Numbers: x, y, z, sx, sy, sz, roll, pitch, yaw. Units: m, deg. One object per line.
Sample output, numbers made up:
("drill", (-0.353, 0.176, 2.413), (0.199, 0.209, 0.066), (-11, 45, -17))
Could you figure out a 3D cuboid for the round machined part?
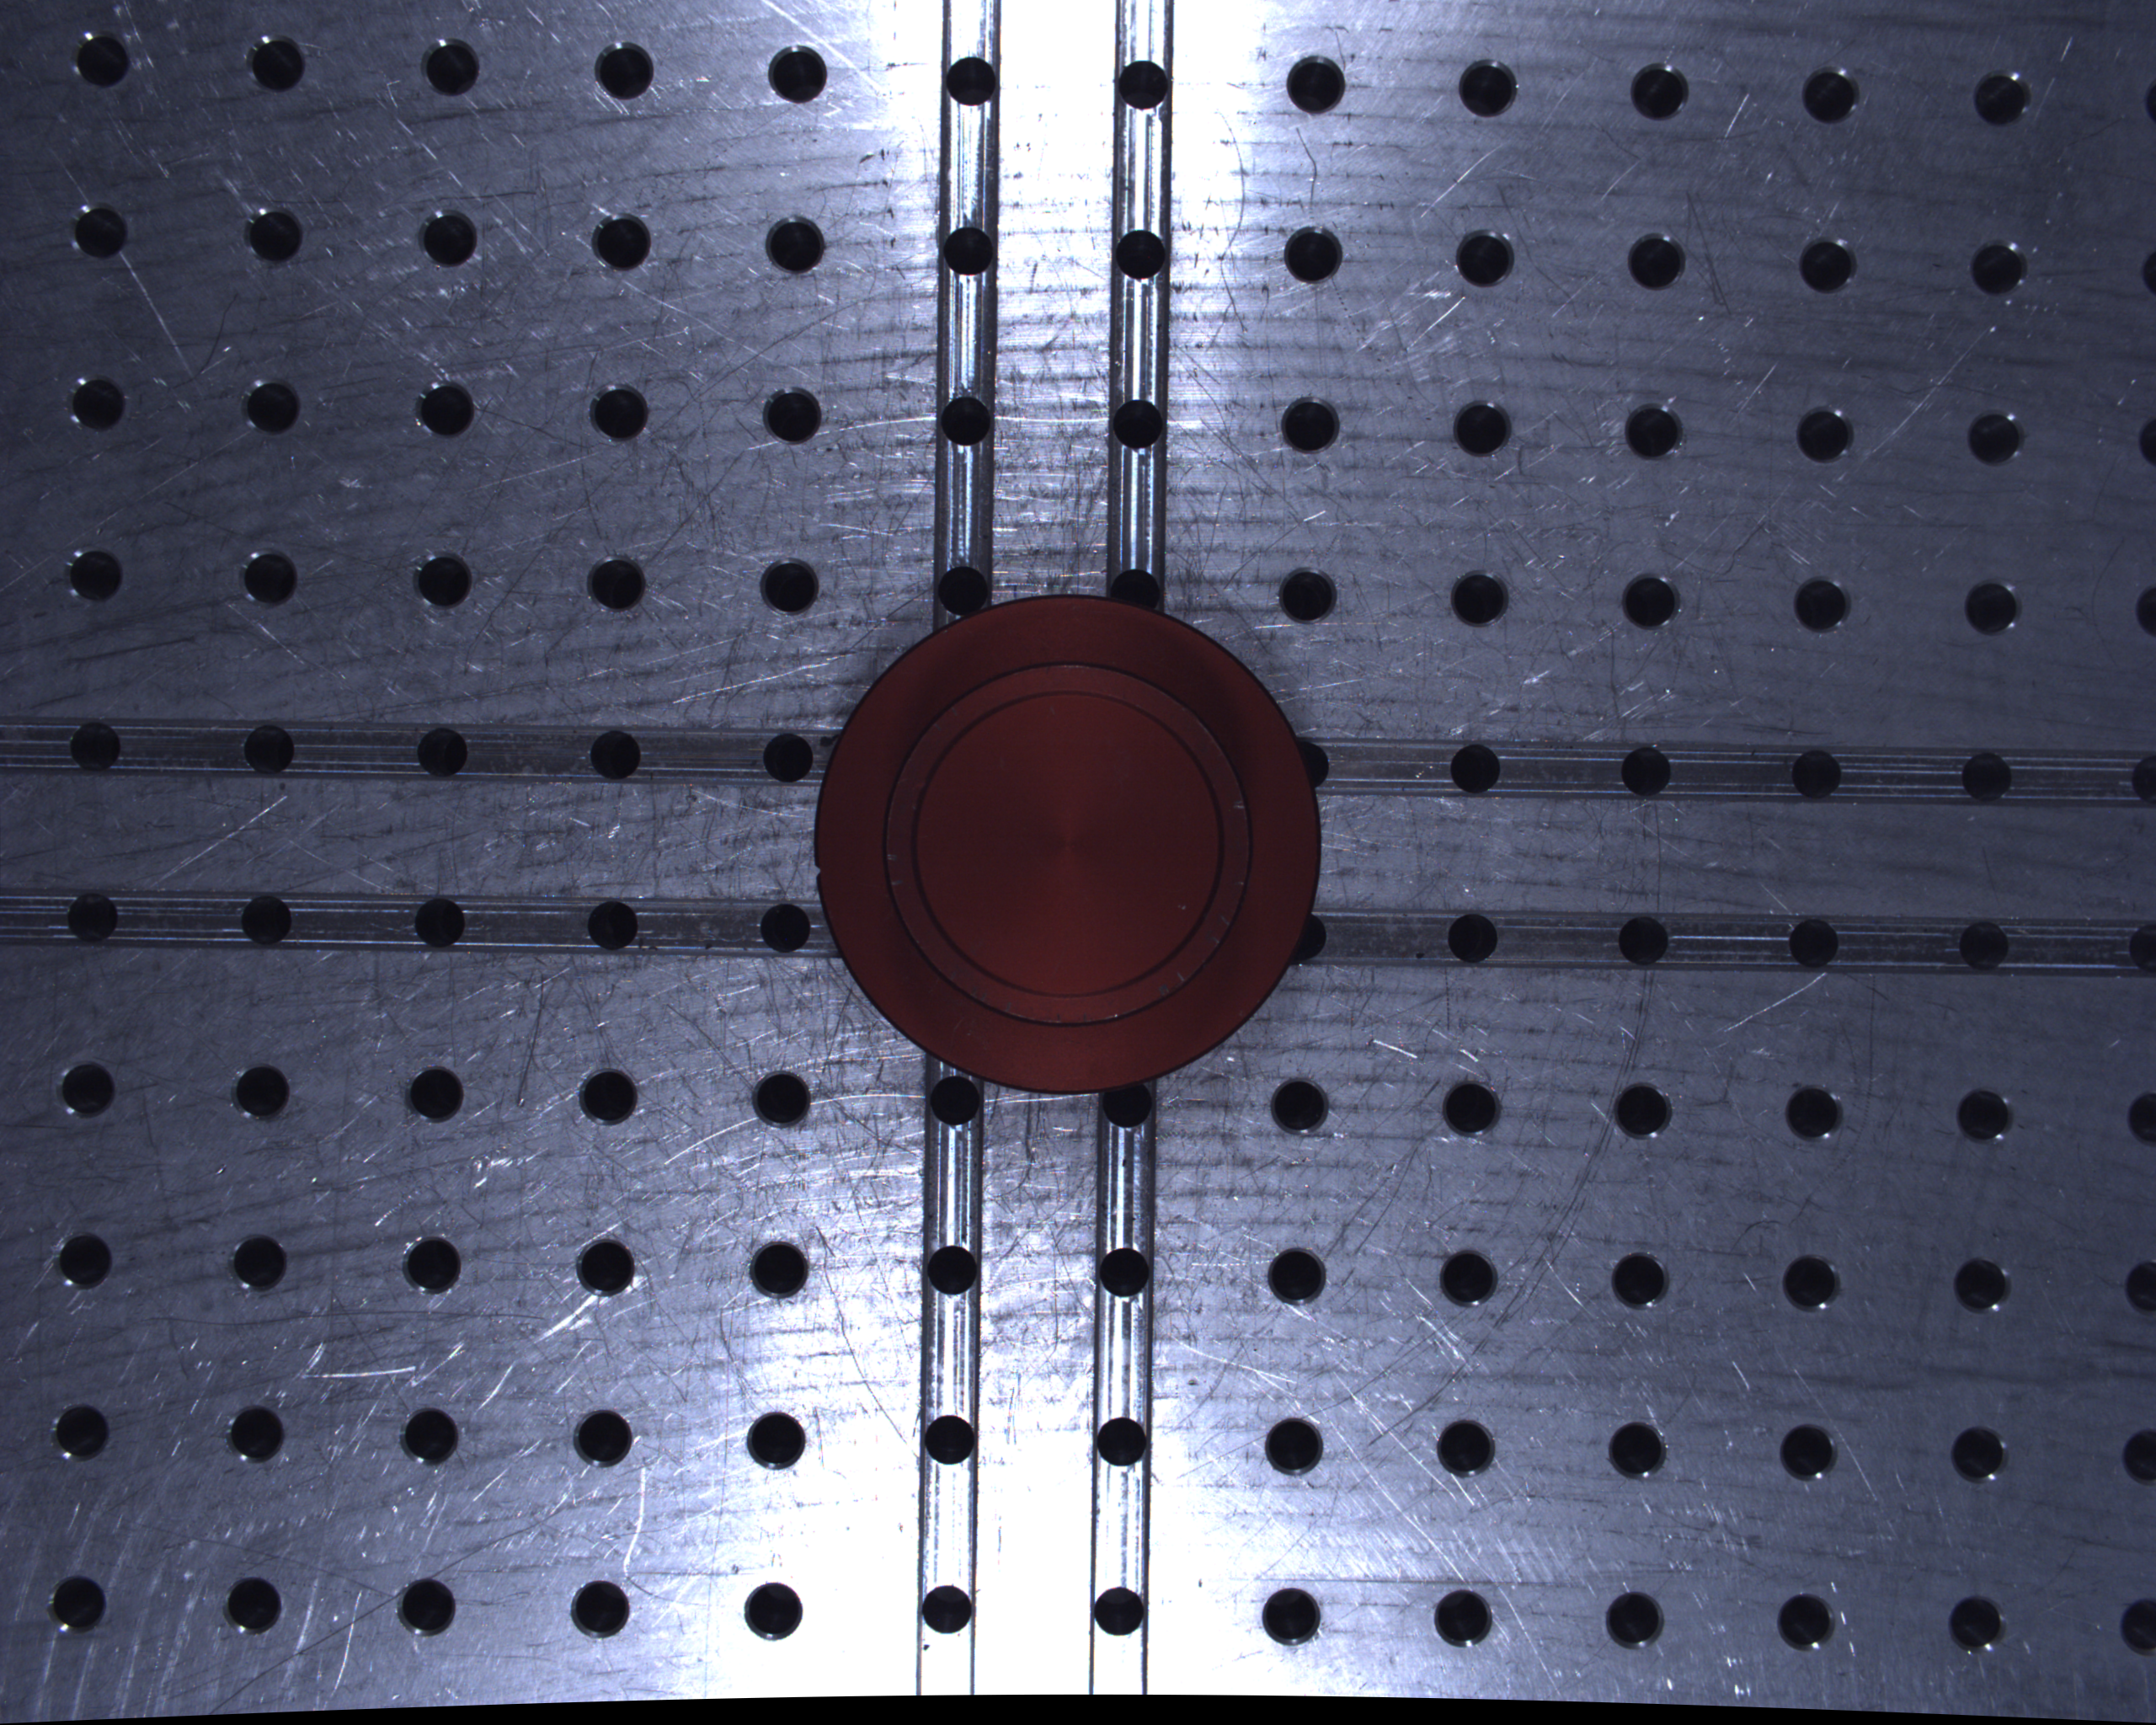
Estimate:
("round machined part", (-0.002, -0.003, 0.404), (0.099, 0.042, 0.097), (0, 90, -1))
